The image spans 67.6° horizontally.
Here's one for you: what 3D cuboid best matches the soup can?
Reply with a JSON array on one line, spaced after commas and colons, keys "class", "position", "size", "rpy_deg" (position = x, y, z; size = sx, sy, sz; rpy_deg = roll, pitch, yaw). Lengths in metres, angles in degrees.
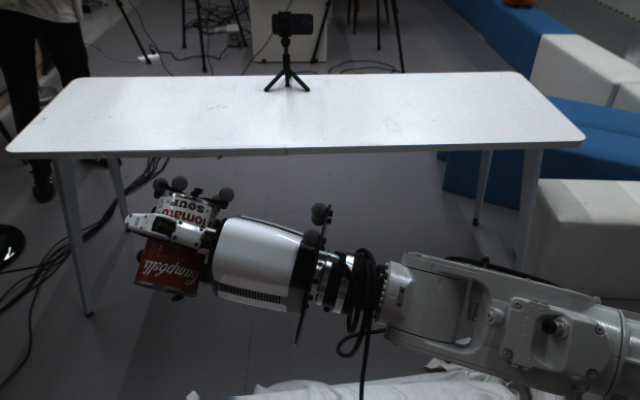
[{"class": "soup can", "position": [-0.156, 0.051, 0.533], "size": [0.067, 0.067, 0.101], "rpy_deg": [8, 72, 9]}]
